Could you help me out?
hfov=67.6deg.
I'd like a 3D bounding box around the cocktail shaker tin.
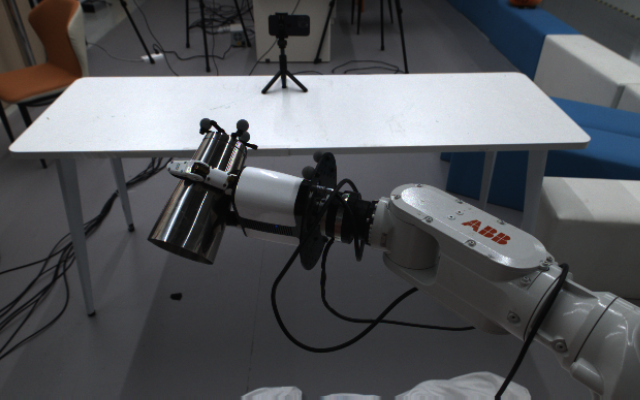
[{"bbox_3d":[-0.162,-0.006,0.674,0.093,0.093,0.170,13,70,15],"label":"cocktail shaker tin"}]
